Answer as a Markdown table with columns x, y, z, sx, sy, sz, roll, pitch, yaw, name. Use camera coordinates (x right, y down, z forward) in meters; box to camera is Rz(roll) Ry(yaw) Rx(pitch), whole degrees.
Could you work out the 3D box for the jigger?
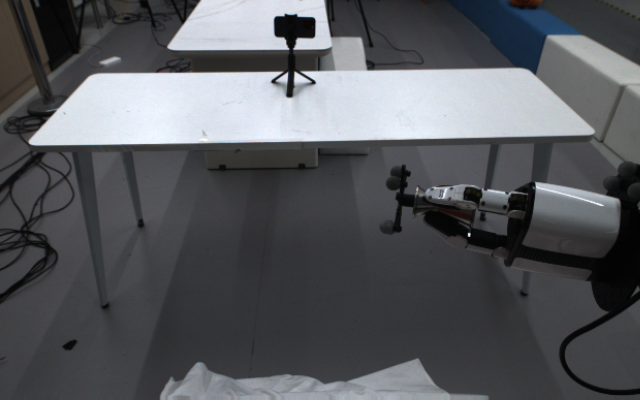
| x | y | z | sx | sy | sz | roll | pitch | yaw | name |
| --- | --- | --- | --- | --- | --- | --- | --- | --- | --- |
| 0.152 | 0.003 | 0.567 | 0.071 | 0.043 | 0.043 | 8 | 35 | 14 | jigger |
